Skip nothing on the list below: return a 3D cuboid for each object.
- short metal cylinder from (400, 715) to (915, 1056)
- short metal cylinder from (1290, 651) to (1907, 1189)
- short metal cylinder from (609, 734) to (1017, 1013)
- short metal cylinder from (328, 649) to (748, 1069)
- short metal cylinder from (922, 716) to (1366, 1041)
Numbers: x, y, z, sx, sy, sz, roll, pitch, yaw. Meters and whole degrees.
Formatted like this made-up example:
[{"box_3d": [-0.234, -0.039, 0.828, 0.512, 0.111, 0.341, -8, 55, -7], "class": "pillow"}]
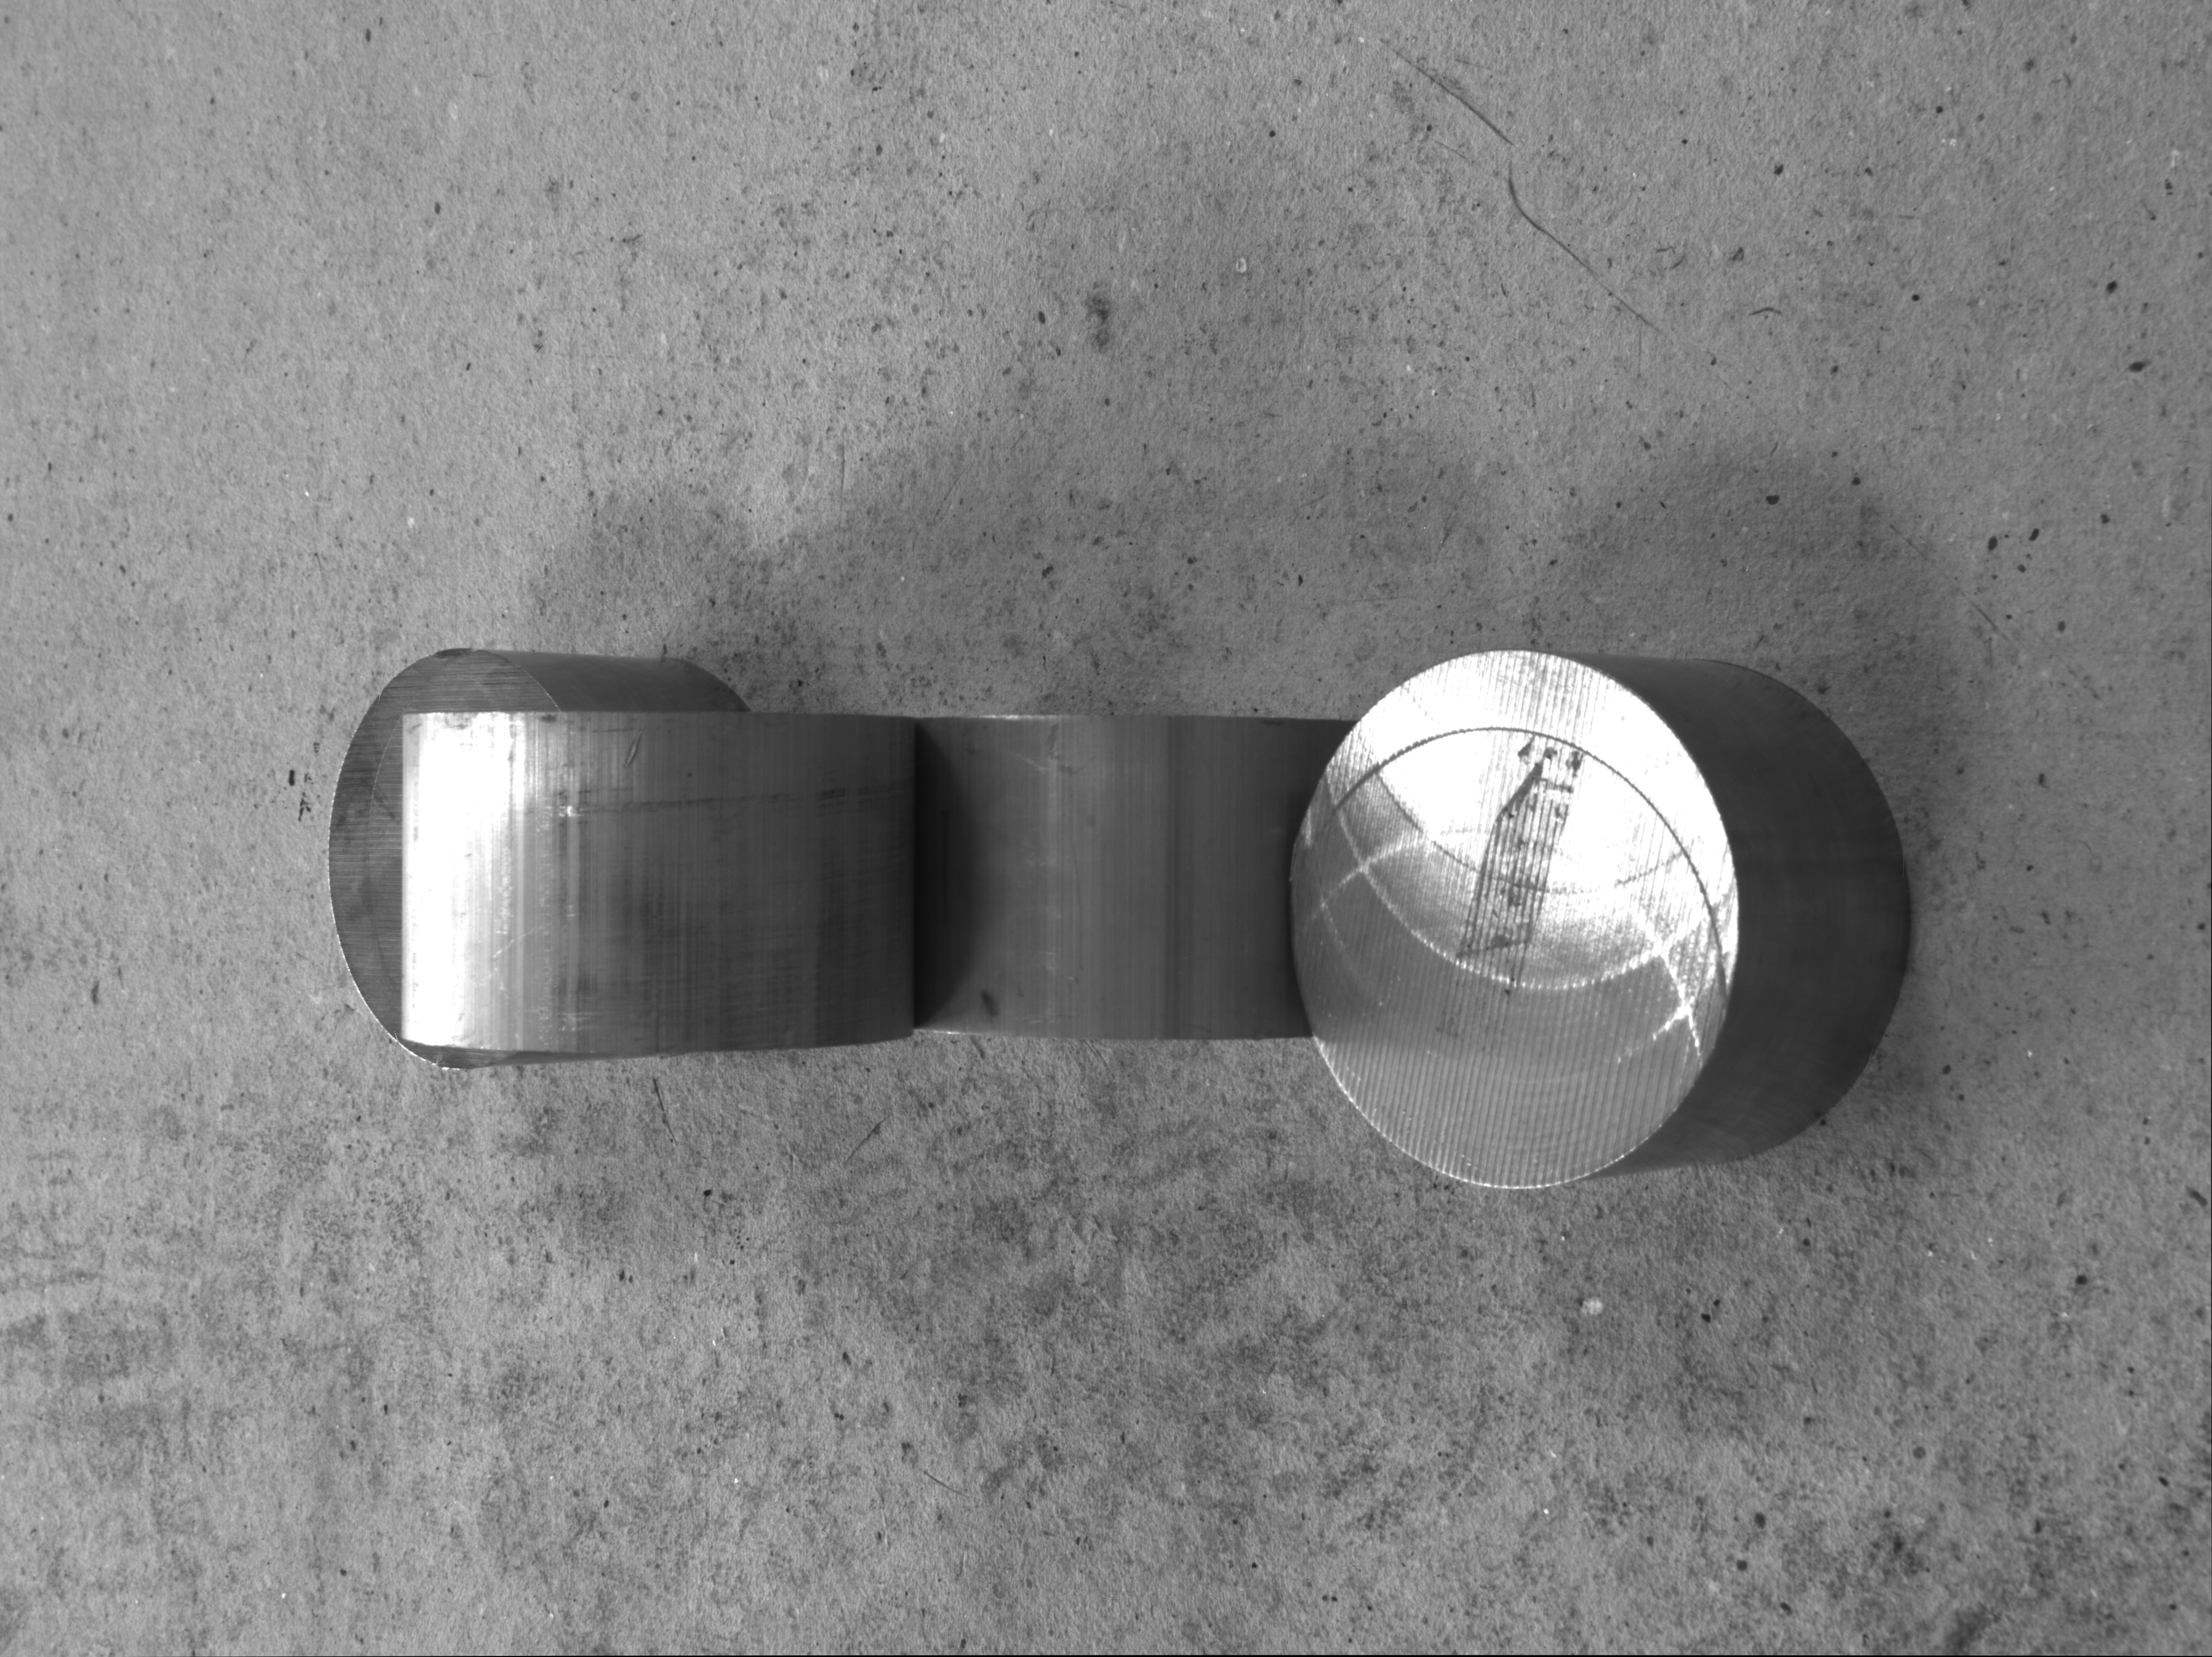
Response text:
[{"box_3d": [-0.070, 0.008, 0.577, 0.080, 0.080, 0.050, 1, 91, 40], "class": "short metal cylinder"}, {"box_3d": [0.075, 0.013, 0.565, 0.080, 0.050, 0.080, 0, 90, 40], "class": "short metal cylinder"}, {"box_3d": [-0.056, 0.007, 0.656, 0.080, 0.080, 0.050, 0, 90, 40], "class": "short metal cylinder"}, {"box_3d": [-0.107, 0.006, 0.719, 0.080, 0.050, 0.080, 0, 90, 40], "class": "short metal cylinder"}, {"box_3d": [0.005, 0.008, 0.605, 0.080, 0.080, 0.050, 0, 89, 40], "class": "short metal cylinder"}]
